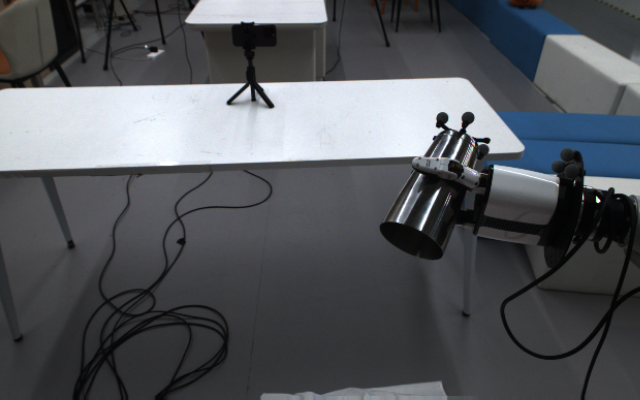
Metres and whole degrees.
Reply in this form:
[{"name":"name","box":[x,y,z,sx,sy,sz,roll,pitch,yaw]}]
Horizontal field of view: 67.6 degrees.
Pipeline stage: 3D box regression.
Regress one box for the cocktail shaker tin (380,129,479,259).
[{"name":"cocktail shaker tin","box":[0.163,-0.018,0.673,0.093,0.093,0.170,20,67,23]}]
